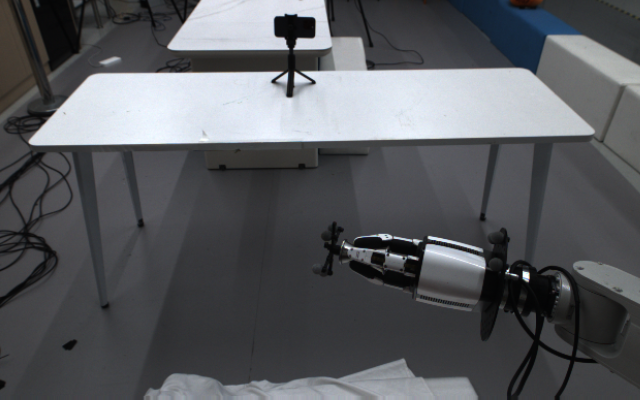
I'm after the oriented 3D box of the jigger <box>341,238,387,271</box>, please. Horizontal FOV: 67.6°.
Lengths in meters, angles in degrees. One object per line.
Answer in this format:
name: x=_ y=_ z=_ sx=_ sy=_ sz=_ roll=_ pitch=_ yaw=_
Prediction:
jigger: x=0.072 y=0.079 z=0.722 sx=0.071 sy=0.043 sz=0.043 roll=10 pitch=35 yaw=16
